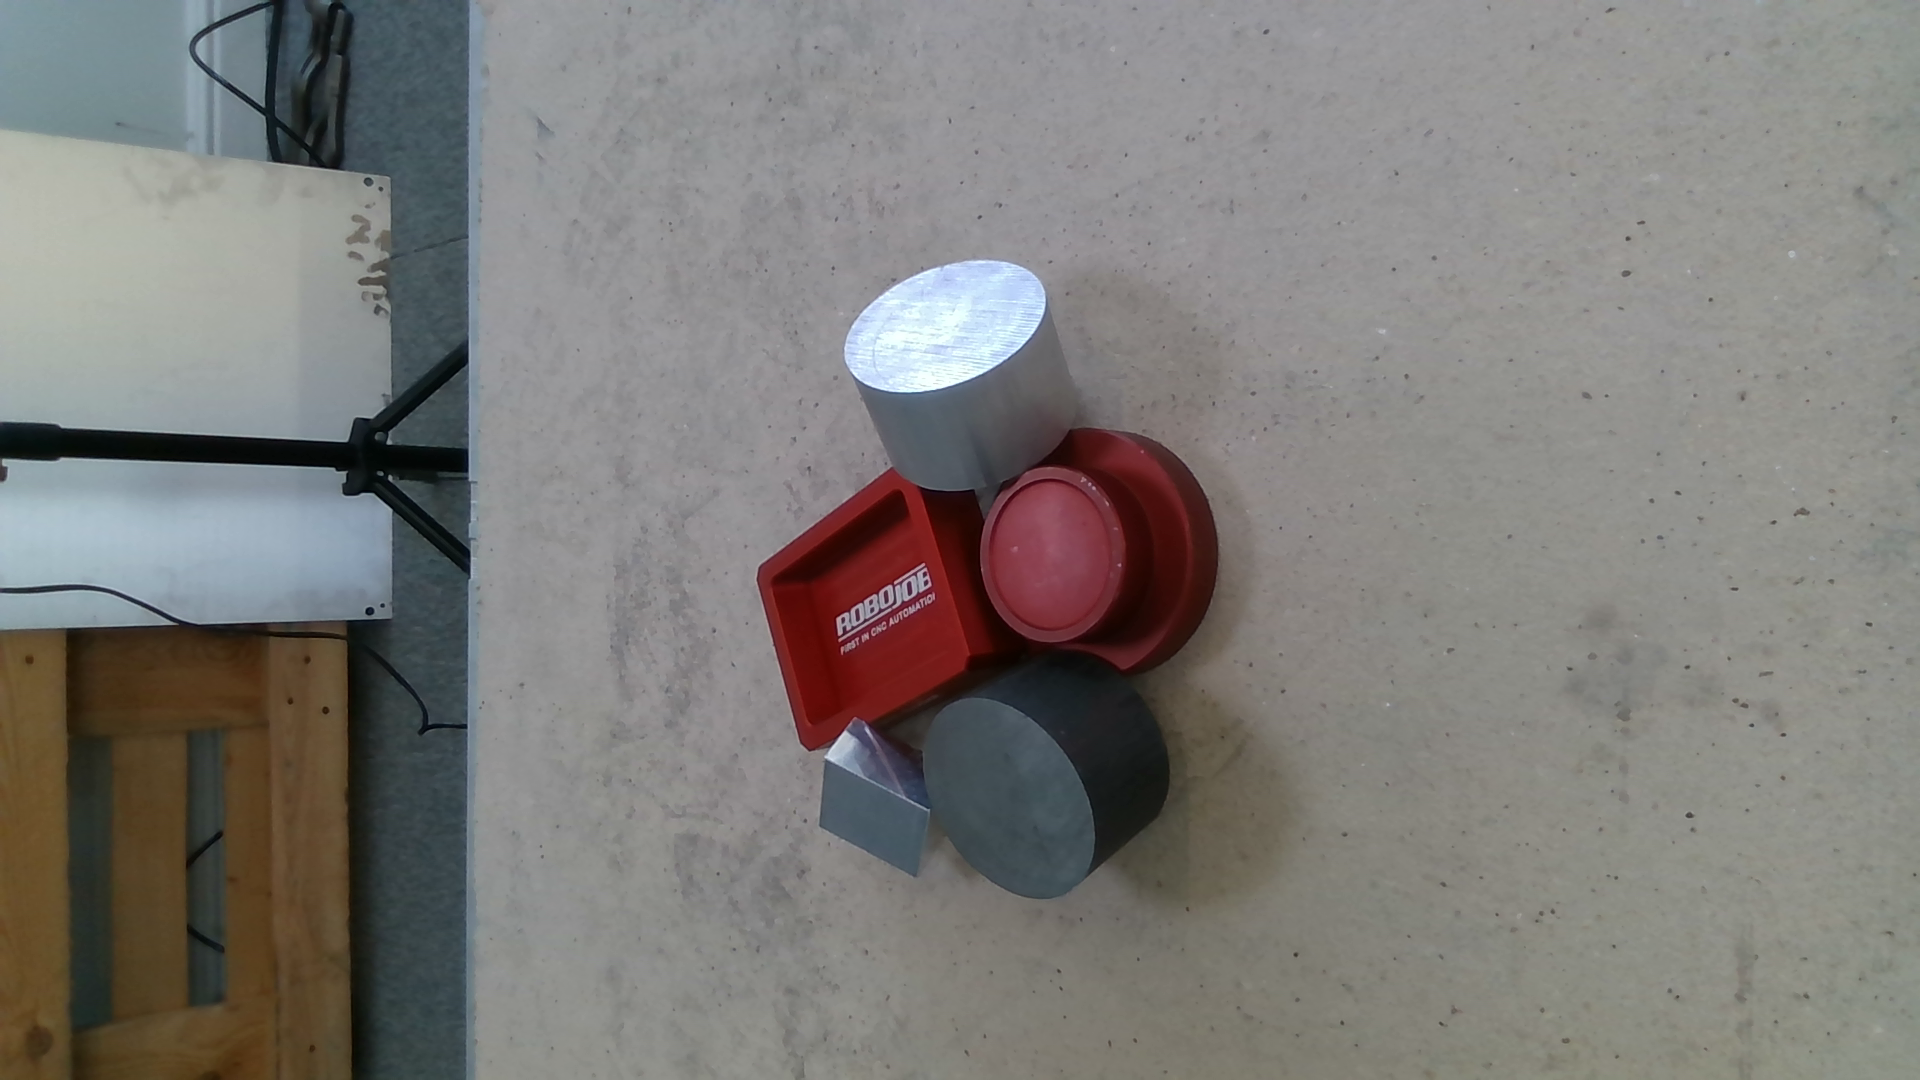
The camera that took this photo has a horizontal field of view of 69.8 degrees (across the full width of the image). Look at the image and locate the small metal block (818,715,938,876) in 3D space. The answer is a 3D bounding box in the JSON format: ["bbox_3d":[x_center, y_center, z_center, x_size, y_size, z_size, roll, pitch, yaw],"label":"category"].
[{"bbox_3d":[-0.032,0.109,0.588,0.050,0.025,0.050,25,136,14],"label":"small metal block"}]

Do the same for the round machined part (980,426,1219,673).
[{"bbox_3d":[0.047,0.005,0.533,0.098,0.042,0.098,0,91,40],"label":"round machined part"}]

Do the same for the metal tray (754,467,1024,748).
[{"bbox_3d":[-0.035,0.029,0.594,0.130,0.030,0.090,-32,70,46],"label":"metal tray"}]

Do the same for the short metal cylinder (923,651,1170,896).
[{"bbox_3d":[0.032,0.087,0.526,0.080,0.050,0.080,18,120,36],"label":"short metal cylinder"}]

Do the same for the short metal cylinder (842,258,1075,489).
[{"bbox_3d":[0.000,-0.066,0.537,0.080,0.080,0.050,21,147,38],"label":"short metal cylinder"}]
